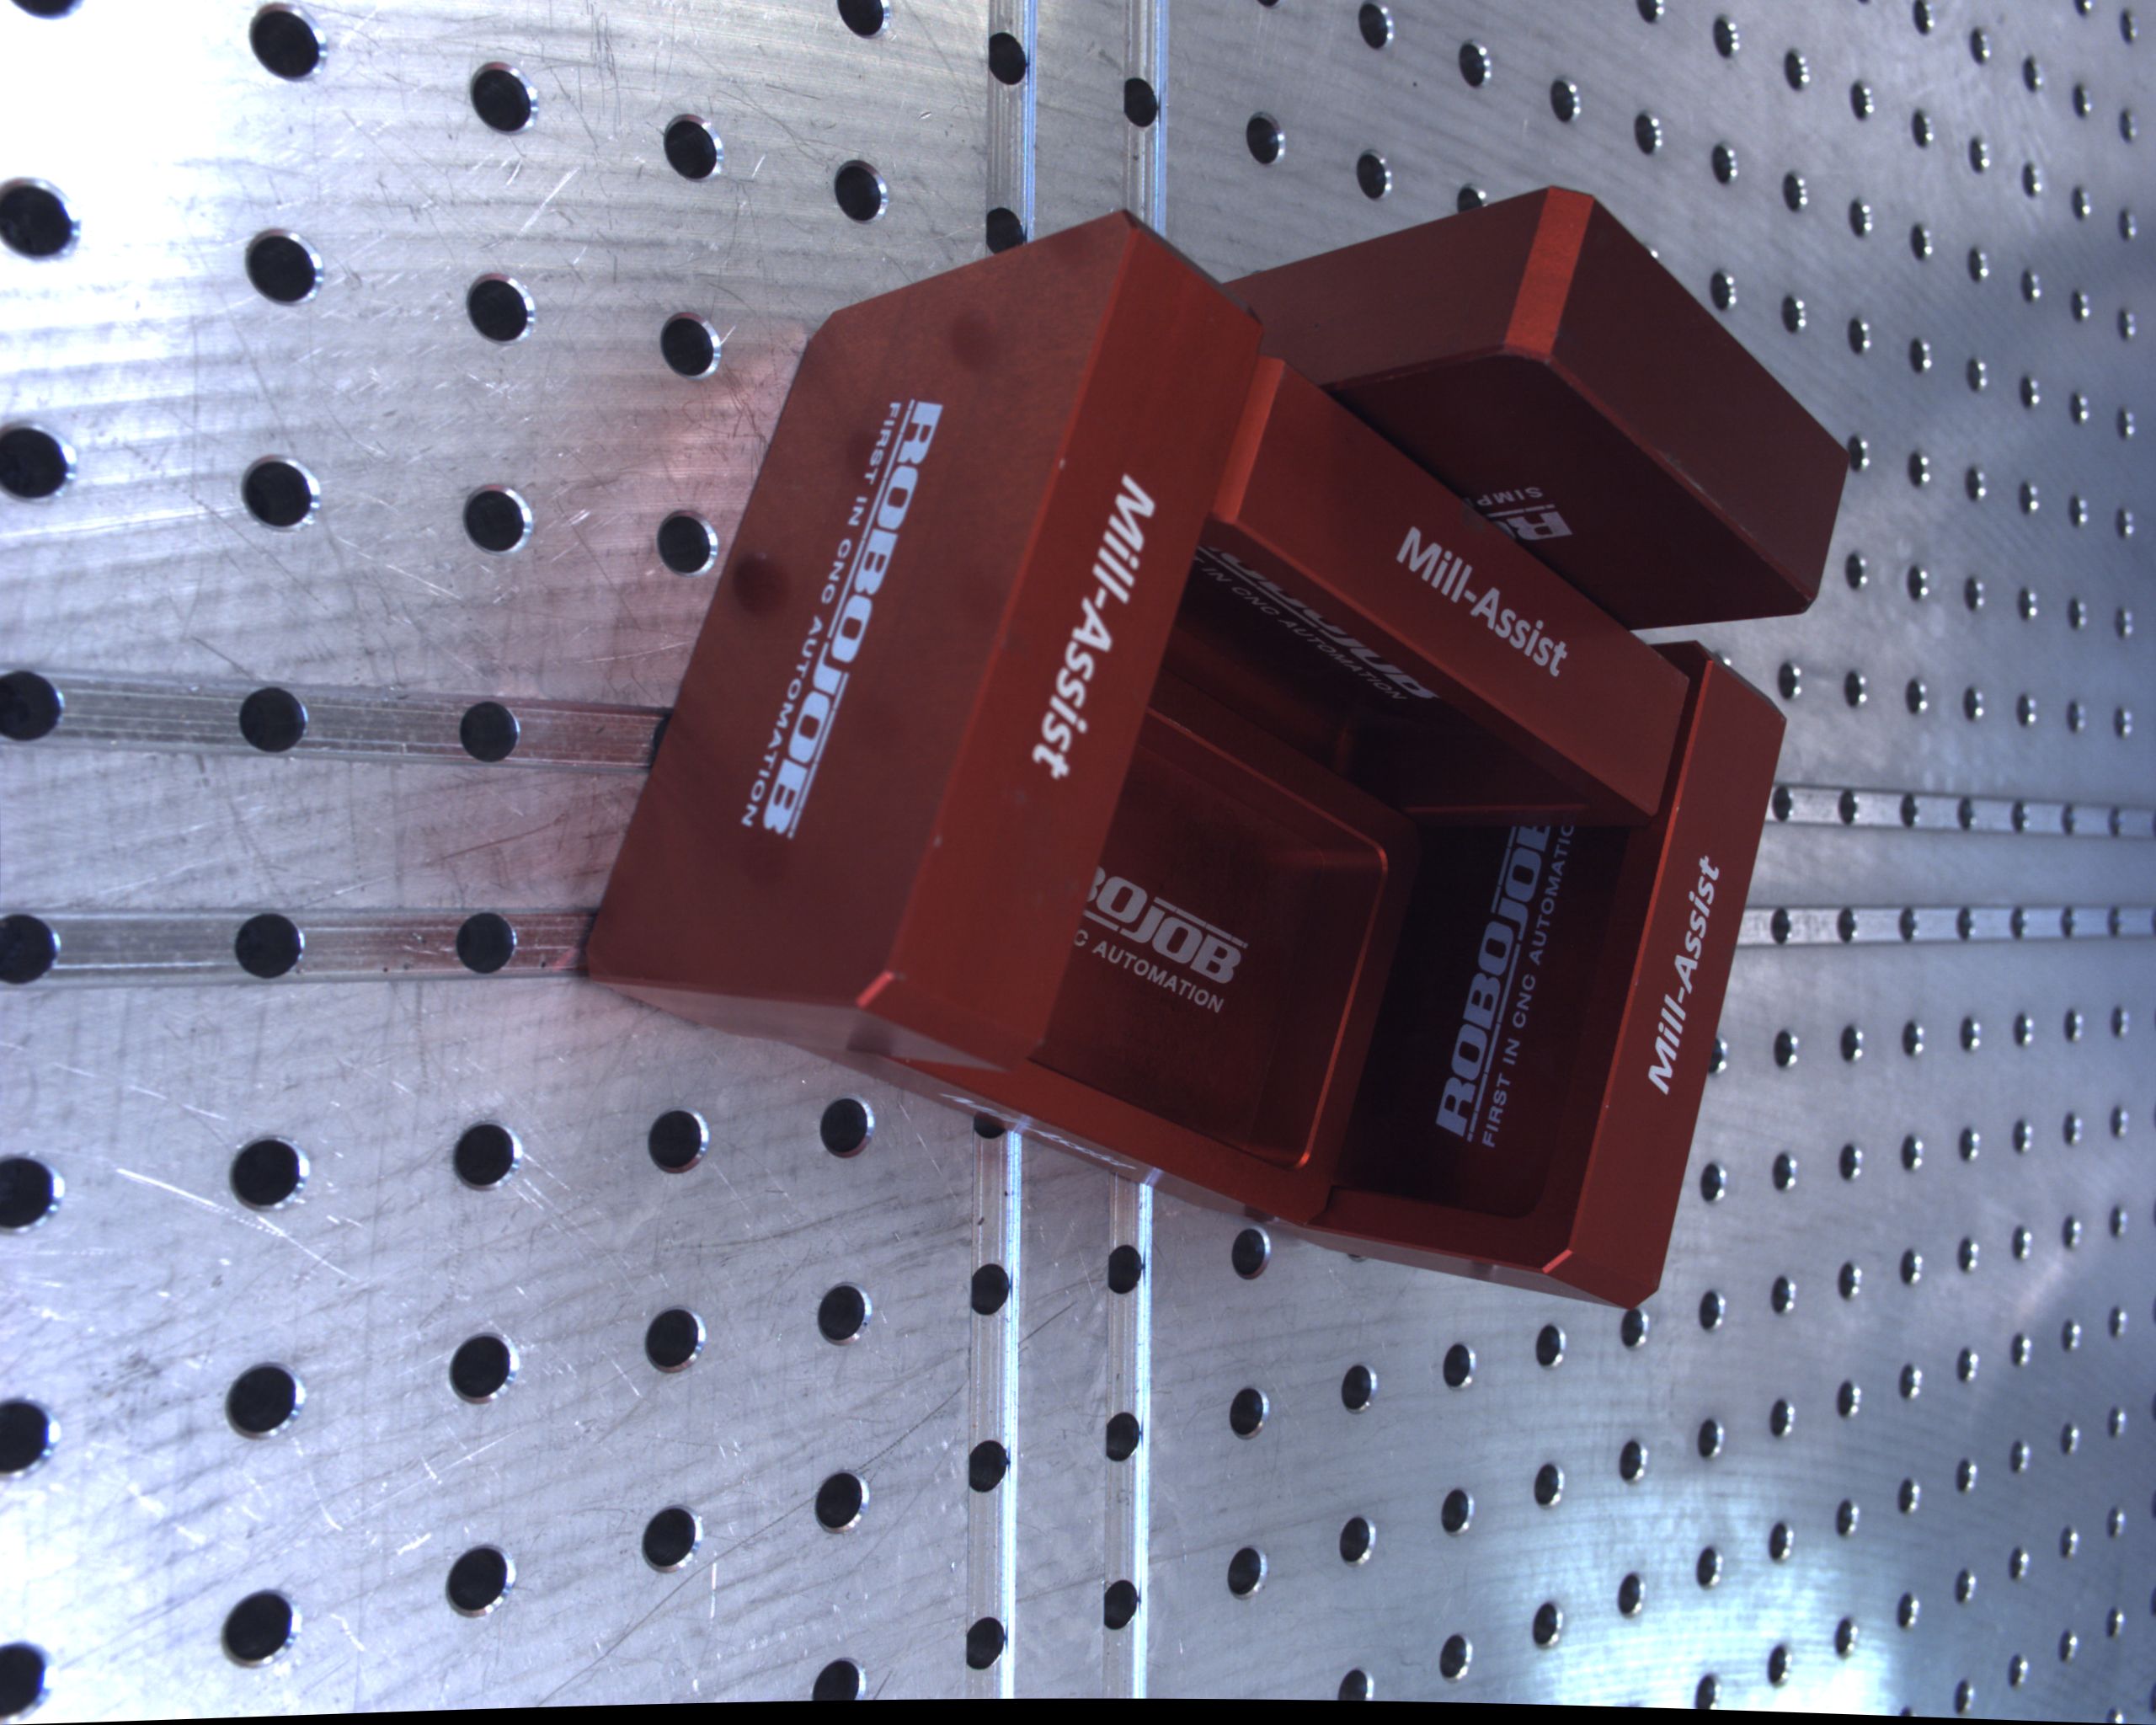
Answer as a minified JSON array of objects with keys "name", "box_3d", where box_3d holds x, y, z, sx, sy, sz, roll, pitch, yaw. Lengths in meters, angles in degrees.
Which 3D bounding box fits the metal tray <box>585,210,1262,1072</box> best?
[{"name":"metal tray","box_3d":[-0.027,-0.035,0.343,0.030,0.090,0.130,28,73,-37]}]

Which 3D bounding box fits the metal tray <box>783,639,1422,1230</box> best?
[{"name":"metal tray","box_3d":[0.007,0.011,0.410,0.131,0.030,0.090,28,73,-37]}]

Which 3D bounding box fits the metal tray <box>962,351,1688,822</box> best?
[{"name":"metal tray","box_3d":[0.043,-0.046,0.401,0.131,0.090,0.030,27,73,-37]}]

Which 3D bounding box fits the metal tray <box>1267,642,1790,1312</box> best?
[{"name":"metal tray","box_3d":[0.090,0.021,0.440,0.030,0.090,0.130,28,73,-37]}]

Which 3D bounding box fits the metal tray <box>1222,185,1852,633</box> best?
[{"name":"metal tray","box_3d":[0.062,-0.075,0.391,0.090,0.130,0.030,28,73,-37]}]
